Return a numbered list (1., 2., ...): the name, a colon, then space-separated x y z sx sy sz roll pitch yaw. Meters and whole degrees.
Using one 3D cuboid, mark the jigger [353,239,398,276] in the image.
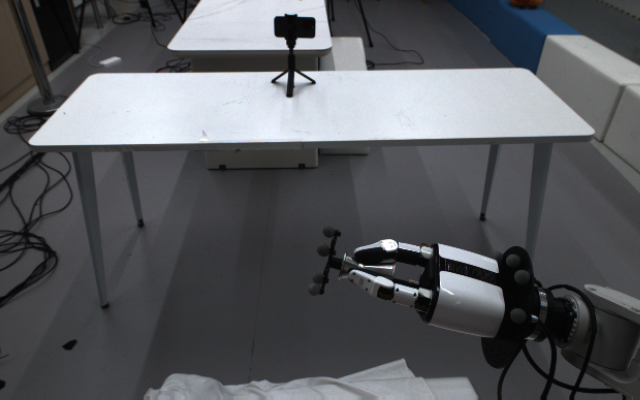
1. jigger: 0.068 0.092 0.641 0.071 0.043 0.043 14 36 5
